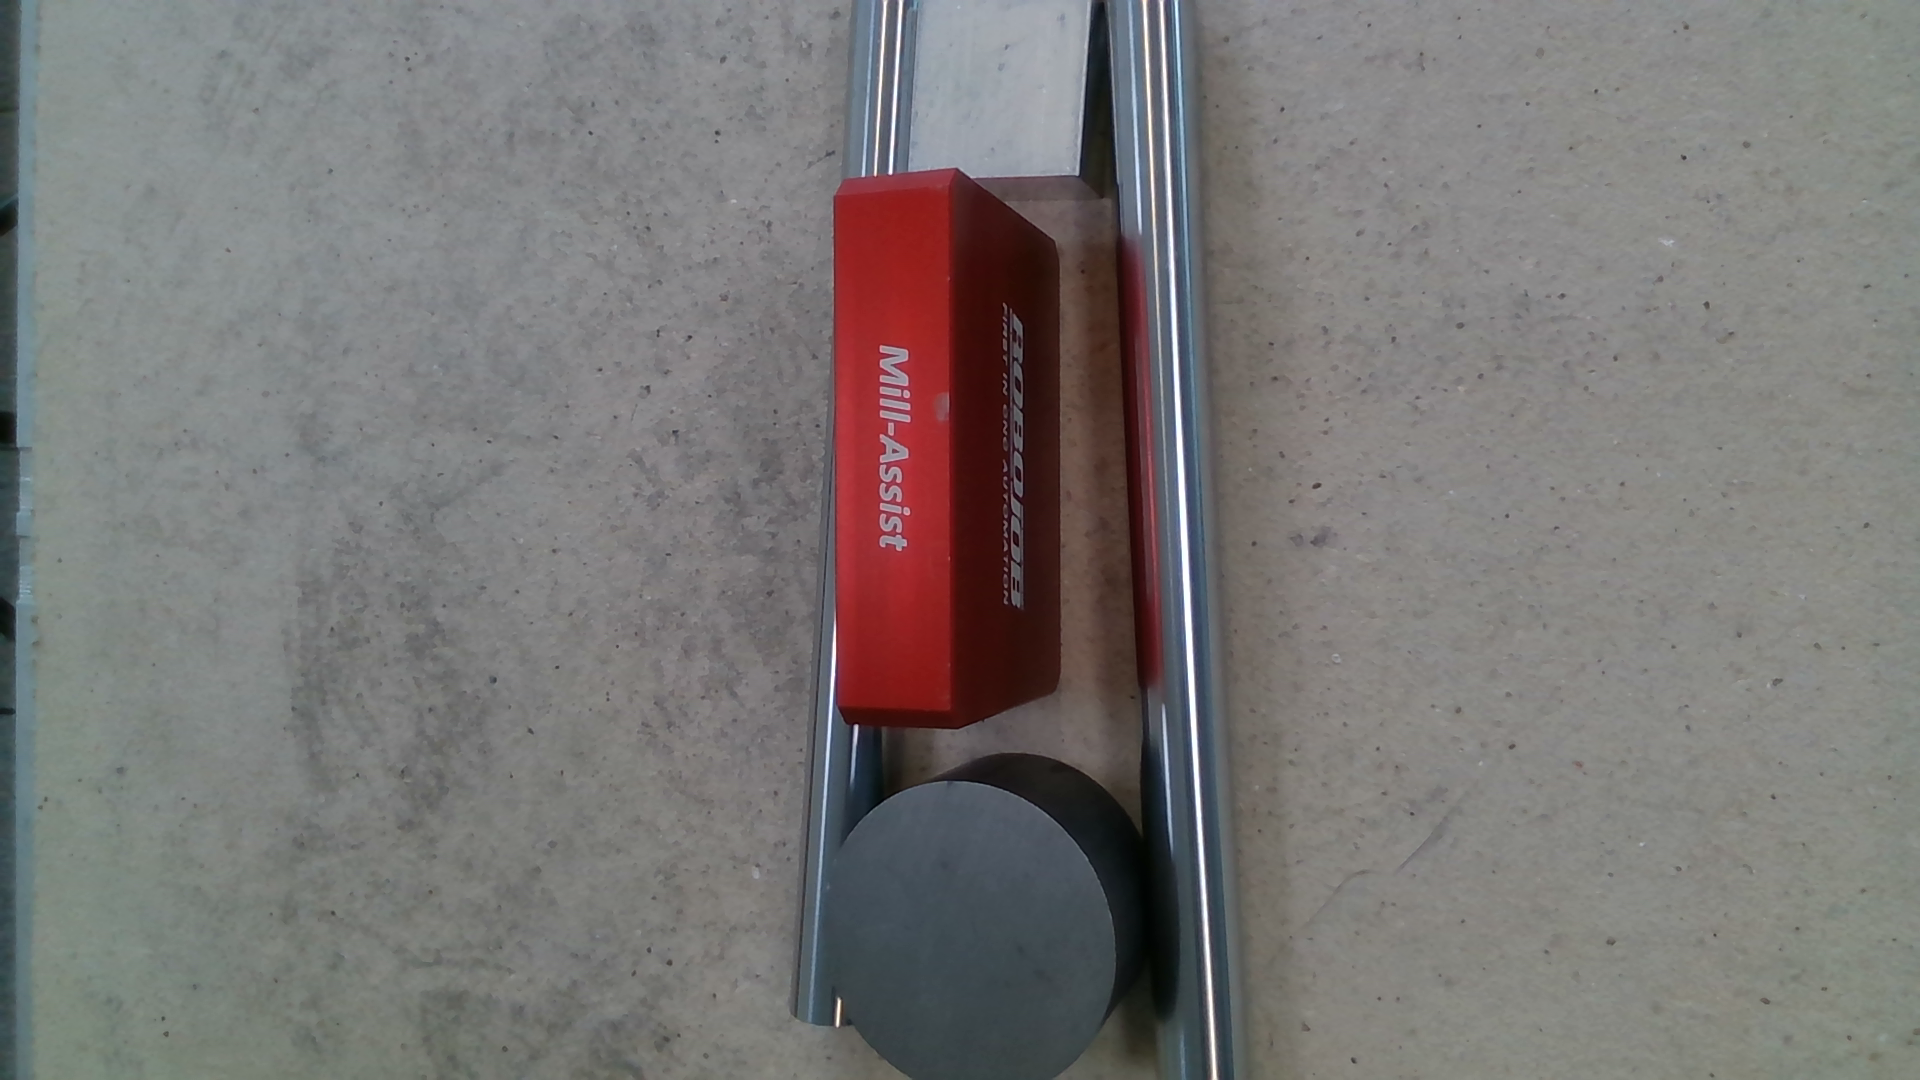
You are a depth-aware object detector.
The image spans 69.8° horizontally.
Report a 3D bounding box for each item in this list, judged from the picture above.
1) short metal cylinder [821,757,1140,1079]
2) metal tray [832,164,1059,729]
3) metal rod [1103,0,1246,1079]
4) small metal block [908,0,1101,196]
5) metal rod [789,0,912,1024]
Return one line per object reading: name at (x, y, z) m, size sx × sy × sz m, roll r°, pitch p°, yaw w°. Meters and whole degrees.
short metal cylinder at (0.009, 0.102, 0.378) m, size 0.080 × 0.050 × 0.080 m, roll 0°, pitch 90°, yaw 20°
metal tray at (-0.001, -0.021, 0.358) m, size 0.030 × 0.090 × 0.130 m, roll 0°, pitch 90°, yaw 20°
metal rod at (0.058, -0.006, 0.373) m, size 0.025 × 0.025 × 0.300 m, roll -3°, pitch 89°, yaw 20°
small metal block at (0.015, -0.124, 0.389) m, size 0.050 × 0.025 × 0.050 m, roll 4°, pitch 92°, yaw 20°
metal rod at (-0.028, -0.010, 0.405) m, size 0.025 × 0.025 × 0.300 m, roll 4°, pitch 92°, yaw 20°
